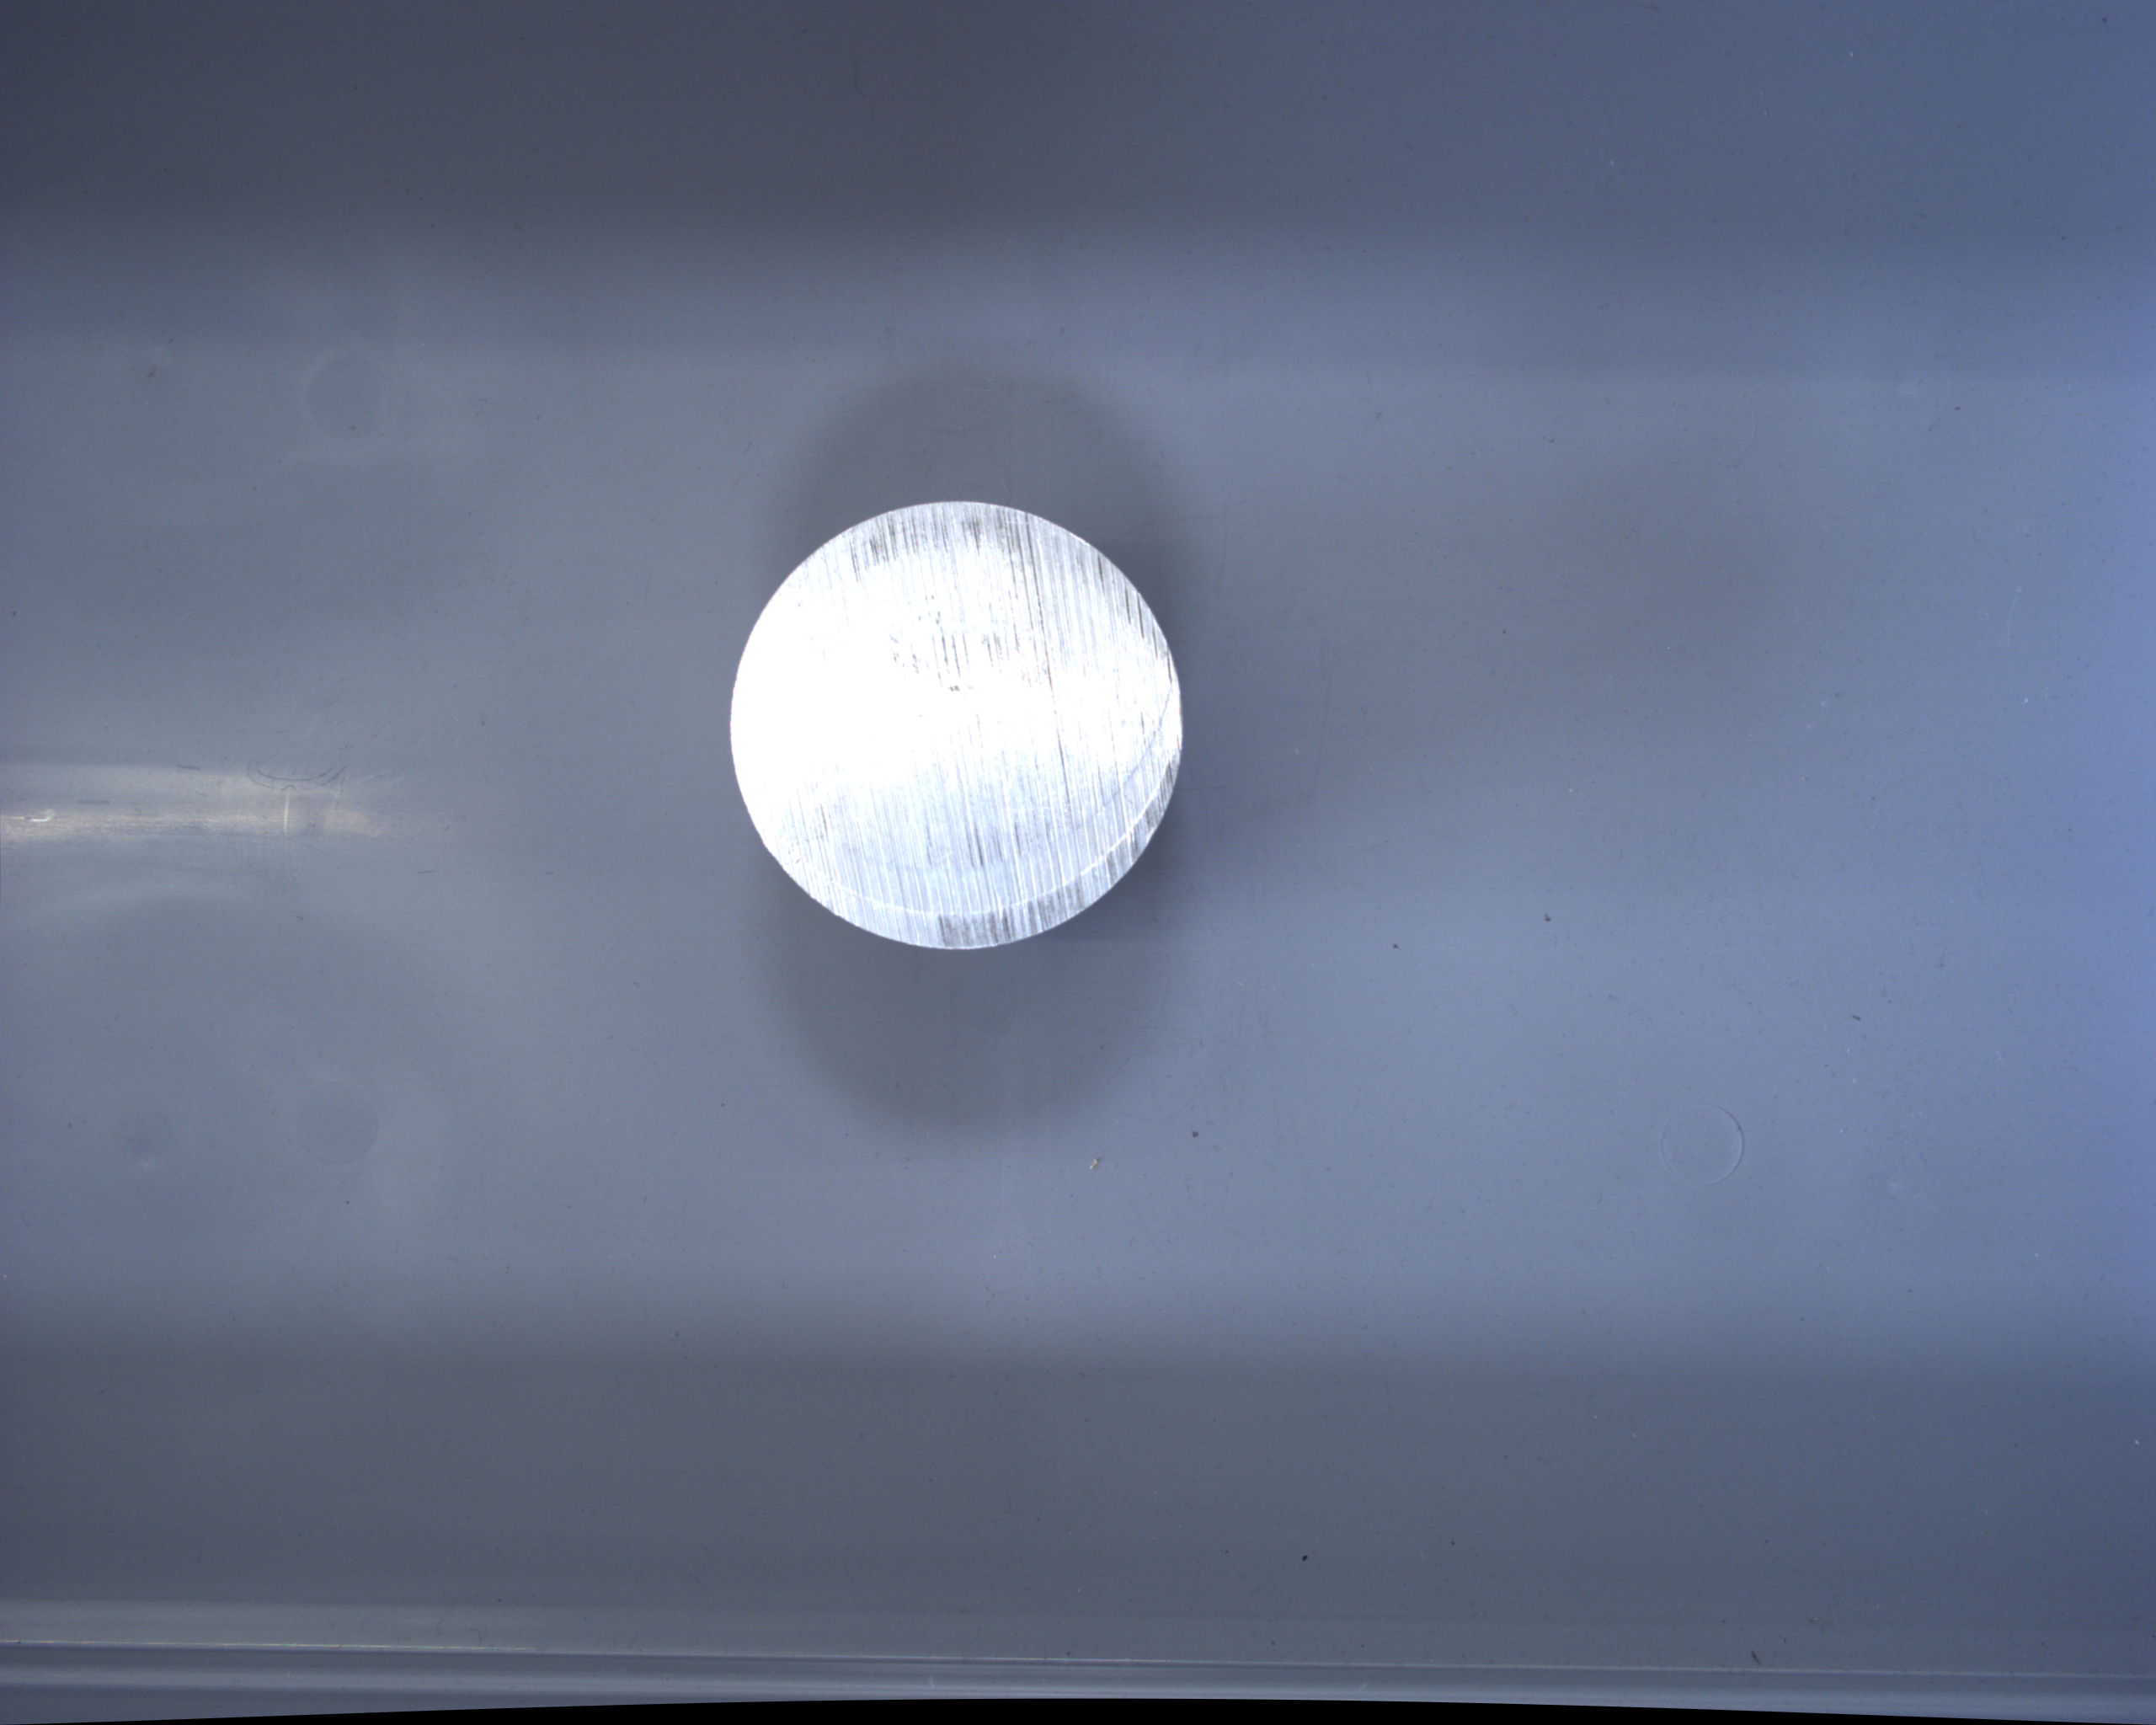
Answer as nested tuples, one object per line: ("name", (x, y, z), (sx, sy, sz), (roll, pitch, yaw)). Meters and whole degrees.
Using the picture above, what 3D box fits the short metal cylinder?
("short metal cylinder", (-0.022, -0.025, 0.397), (0.080, 0.050, 0.080), (0, 90, 0))
